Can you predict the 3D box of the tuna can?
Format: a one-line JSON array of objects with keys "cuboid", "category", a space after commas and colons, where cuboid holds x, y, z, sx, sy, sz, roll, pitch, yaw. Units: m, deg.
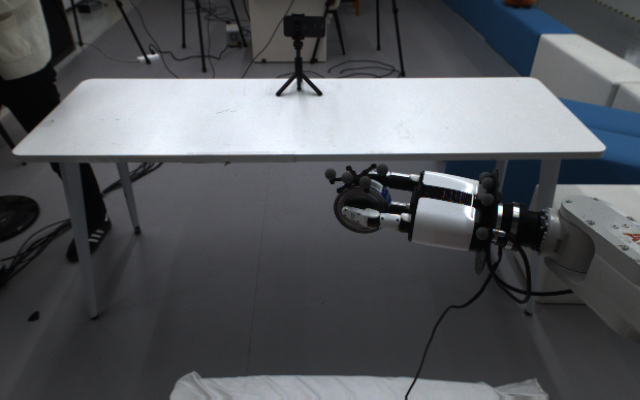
[{"cuboid": [0.068, 0.008, 0.748, 0.085, 0.085, 0.034, 10, 33, 11], "category": "tuna can"}]
